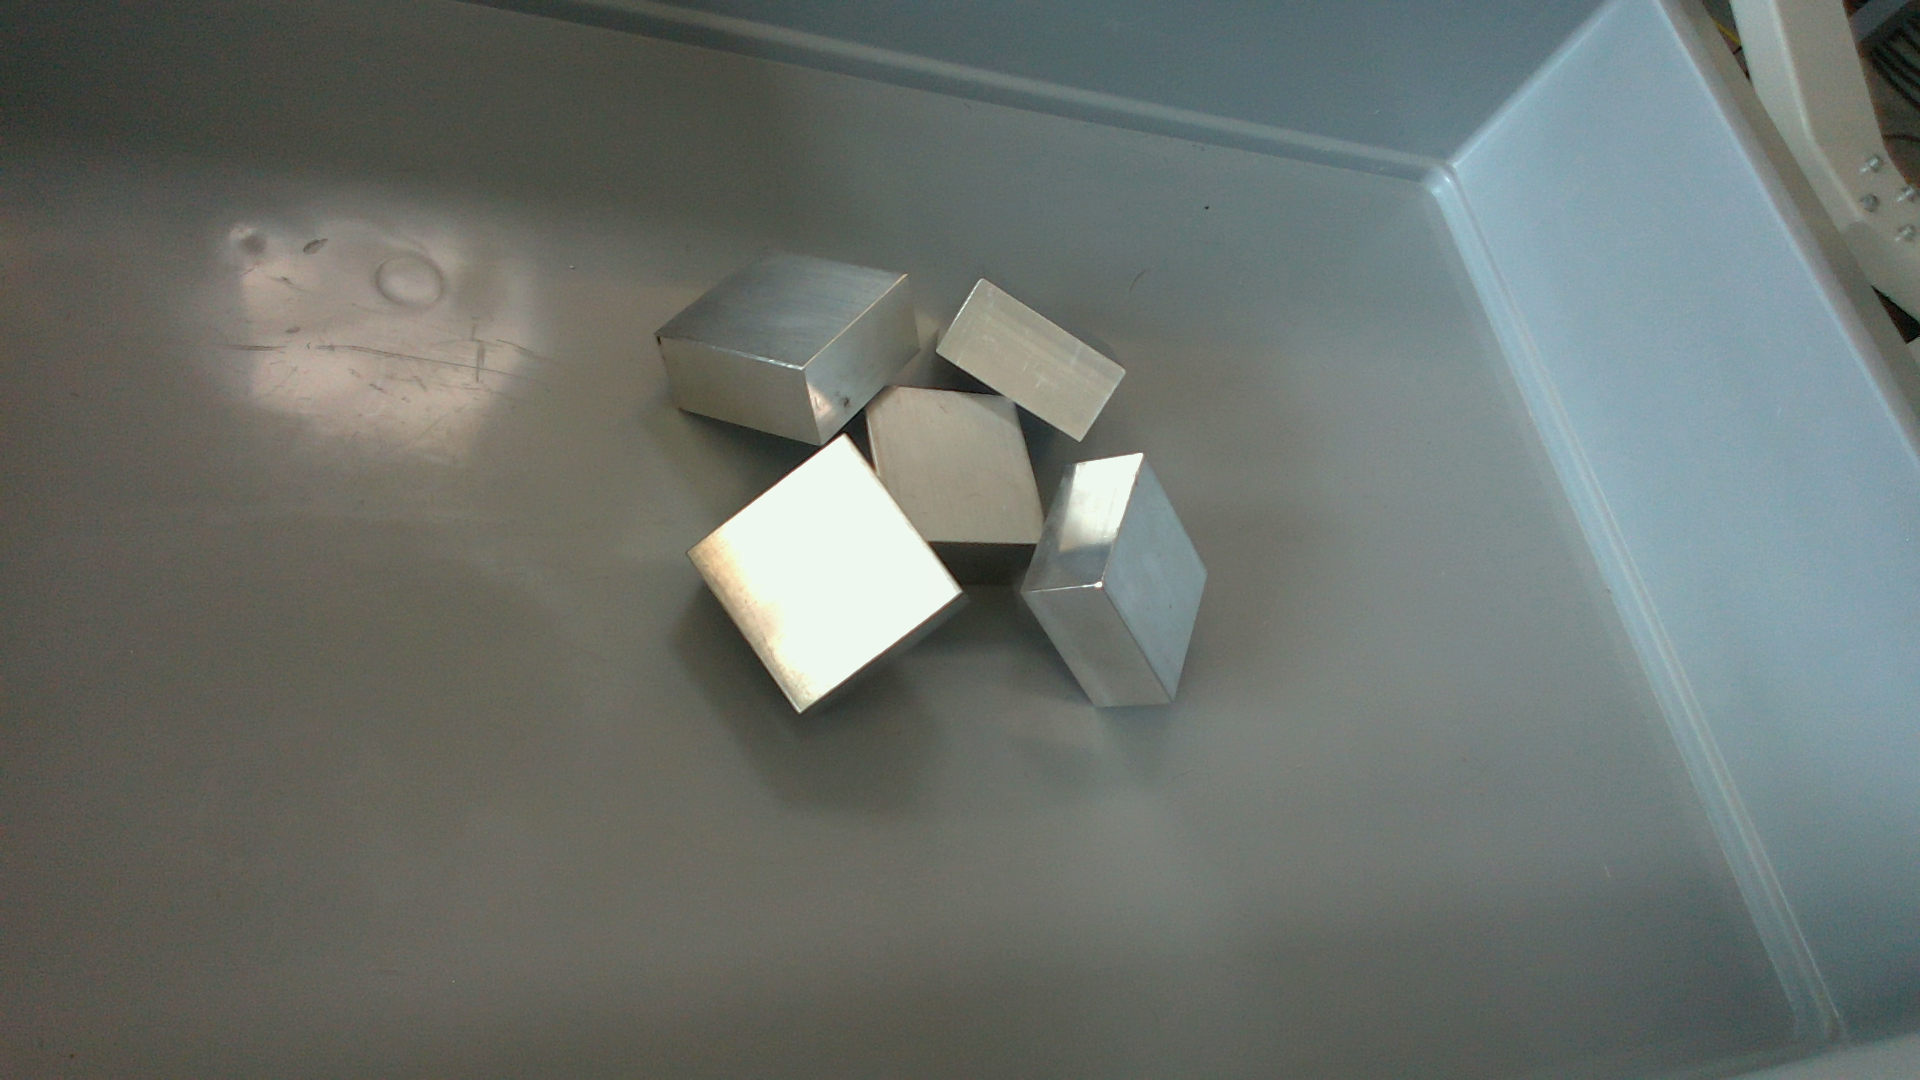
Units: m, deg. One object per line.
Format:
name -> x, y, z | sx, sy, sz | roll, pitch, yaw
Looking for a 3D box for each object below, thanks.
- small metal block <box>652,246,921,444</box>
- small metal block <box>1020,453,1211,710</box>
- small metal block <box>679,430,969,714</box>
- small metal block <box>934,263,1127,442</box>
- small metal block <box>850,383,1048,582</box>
small metal block -> -0.047, -0.055, 0.380 | 0.050, 0.025, 0.050 | 15, 45, 28
small metal block -> 0.046, 0.012, 0.390 | 0.050, 0.025, 0.050 | 55, 42, -35
small metal block -> -0.034, 0.009, 0.349 | 0.050, 0.025, 0.050 | -36, 80, -1
small metal block -> 0.020, -0.059, 0.419 | 0.050, 0.025, 0.050 | 31, 14, -9
small metal block -> -0.007, -0.016, 0.393 | 0.050, 0.025, 0.050 | 2, 61, -27
